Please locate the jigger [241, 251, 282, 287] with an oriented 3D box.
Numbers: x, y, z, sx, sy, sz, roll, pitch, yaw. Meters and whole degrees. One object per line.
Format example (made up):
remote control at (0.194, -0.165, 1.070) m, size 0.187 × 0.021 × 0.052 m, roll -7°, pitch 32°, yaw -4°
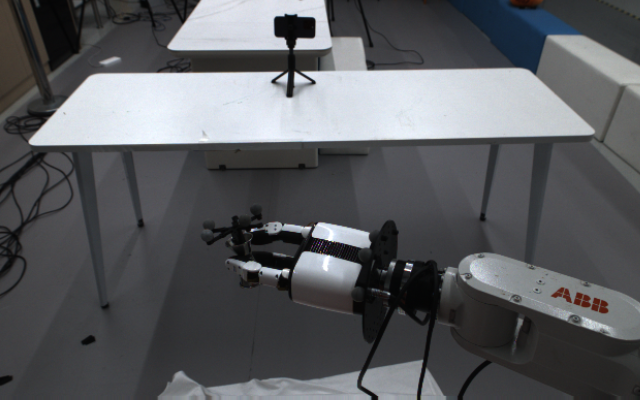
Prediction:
jigger at (-0.102, 0.087, 0.686) m, size 0.043 × 0.071 × 0.043 m, roll -14°, pitch 22°, yaw 6°
